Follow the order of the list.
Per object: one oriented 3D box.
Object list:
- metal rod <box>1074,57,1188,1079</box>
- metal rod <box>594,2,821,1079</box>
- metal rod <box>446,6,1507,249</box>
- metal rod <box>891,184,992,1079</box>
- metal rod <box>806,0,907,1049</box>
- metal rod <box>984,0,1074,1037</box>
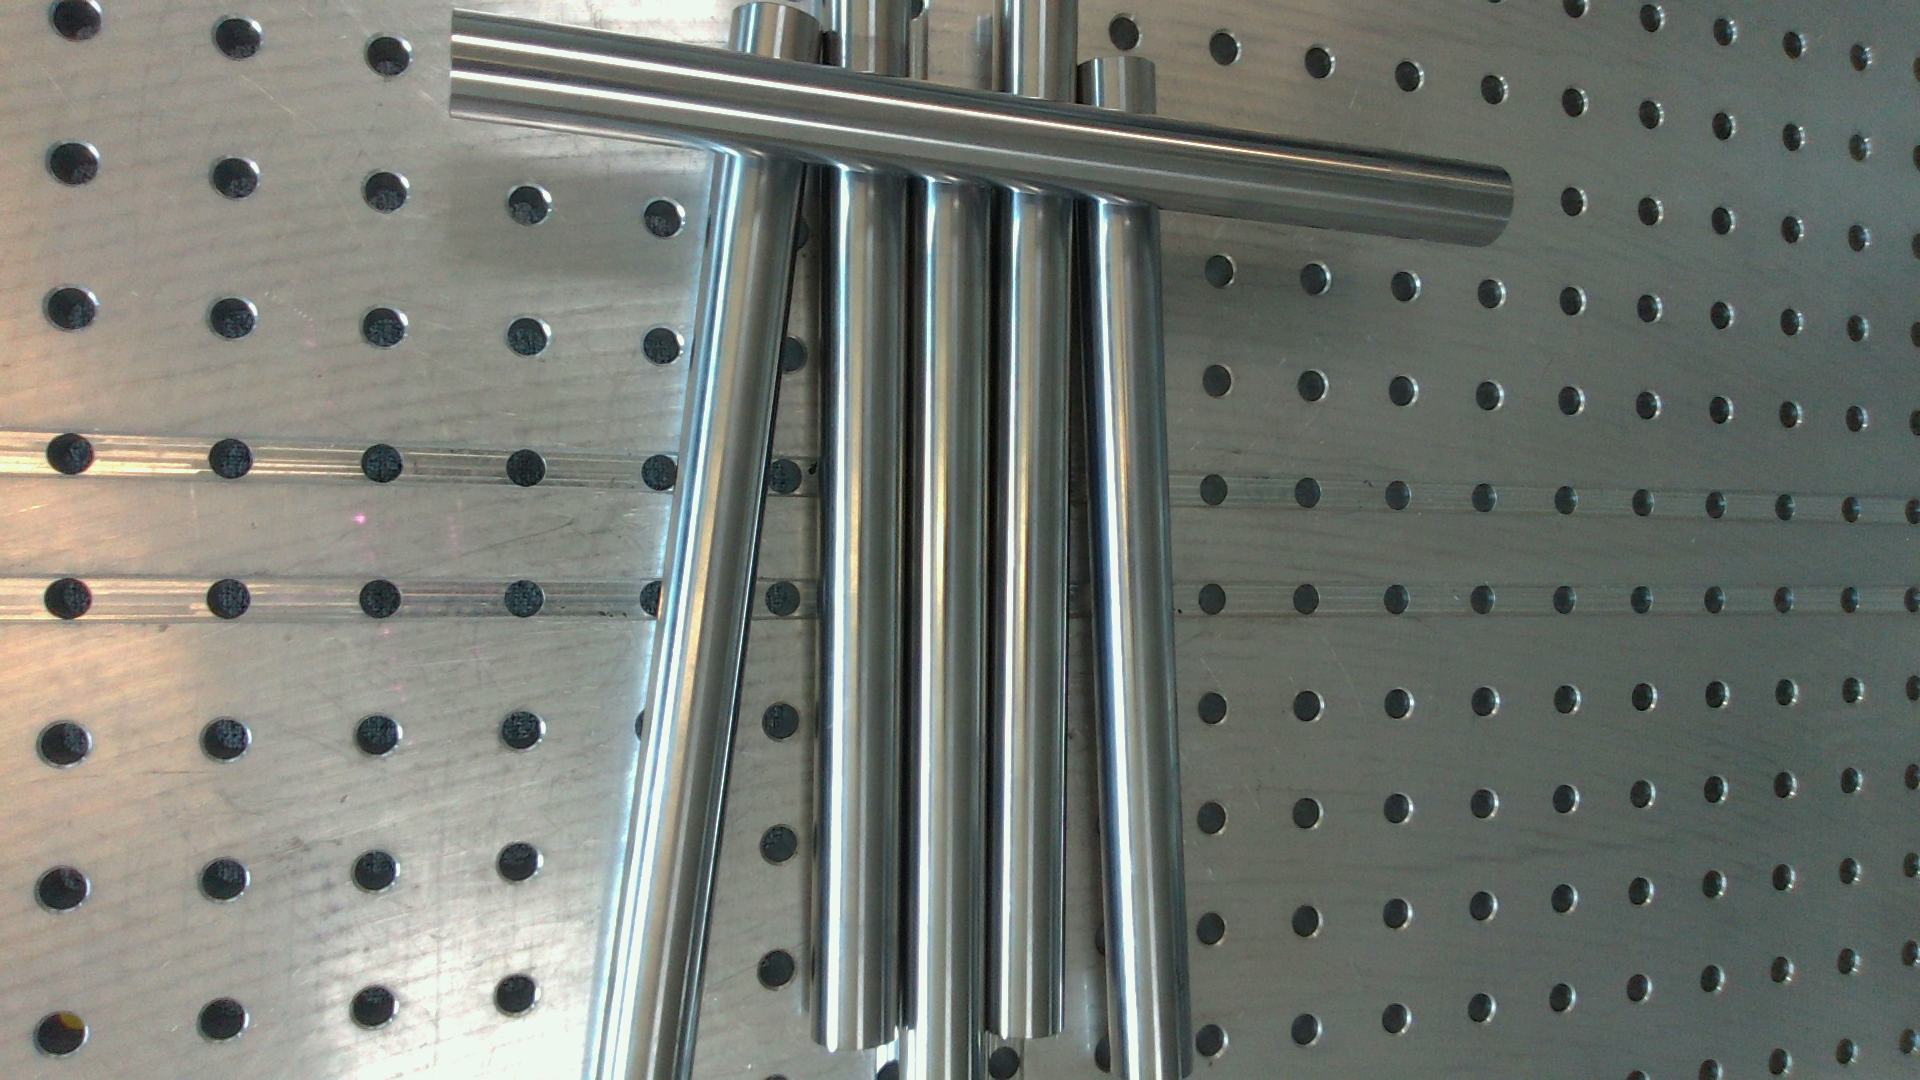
[{"bbox_3d":[0.051,0.009,0.415,0.025,0.025,0.300,-3,91,-20],"label":"metal rod"},{"bbox_3d":[-0.068,0.007,0.370,0.025,0.025,0.300,8,87,-20],"label":"metal rod"},{"bbox_3d":[0.020,-0.108,0.376,0.301,0.025,0.025,2,89,-20],"label":"metal rod"},{"bbox_3d":[-0.006,0.044,0.394,0.025,0.025,0.300,1,90,-20],"label":"metal rod"},{"bbox_3d":[-0.029,-0.012,0.386,0.025,0.025,0.300,1,90,-20],"label":"metal rod"},{"bbox_3d":[0.019,-0.009,0.404,0.025,0.025,0.300,1,90,-20],"label":"metal rod"}]
